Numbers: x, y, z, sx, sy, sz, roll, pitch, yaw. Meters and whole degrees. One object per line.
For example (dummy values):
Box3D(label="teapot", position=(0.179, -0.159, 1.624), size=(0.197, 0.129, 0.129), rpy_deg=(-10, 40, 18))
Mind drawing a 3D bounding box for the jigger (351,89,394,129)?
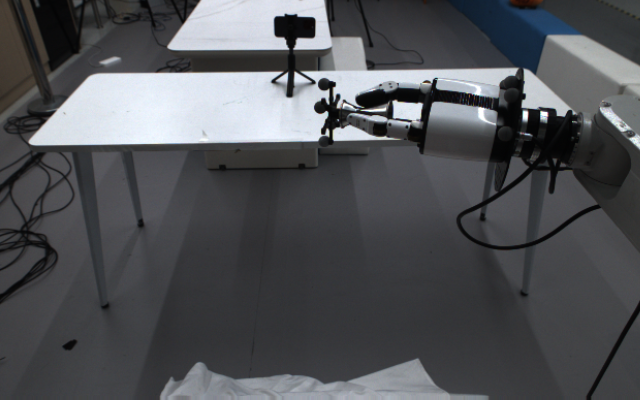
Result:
Box3D(label="jigger", position=(0.071, -0.121, 0.675), size=(0.071, 0.043, 0.043), rpy_deg=(5, 34, 16))
